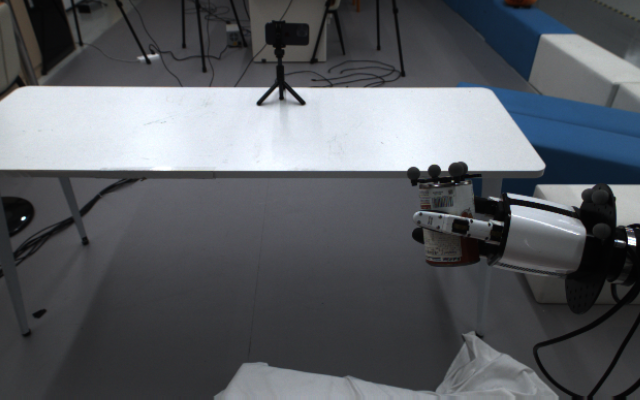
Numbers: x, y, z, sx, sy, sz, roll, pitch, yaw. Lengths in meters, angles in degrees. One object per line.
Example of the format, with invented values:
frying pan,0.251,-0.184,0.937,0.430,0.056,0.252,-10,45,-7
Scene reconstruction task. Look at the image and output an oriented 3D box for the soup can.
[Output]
soup can,0.166,0.028,0.616,0.067,0.101,0.067,-6,3,0
